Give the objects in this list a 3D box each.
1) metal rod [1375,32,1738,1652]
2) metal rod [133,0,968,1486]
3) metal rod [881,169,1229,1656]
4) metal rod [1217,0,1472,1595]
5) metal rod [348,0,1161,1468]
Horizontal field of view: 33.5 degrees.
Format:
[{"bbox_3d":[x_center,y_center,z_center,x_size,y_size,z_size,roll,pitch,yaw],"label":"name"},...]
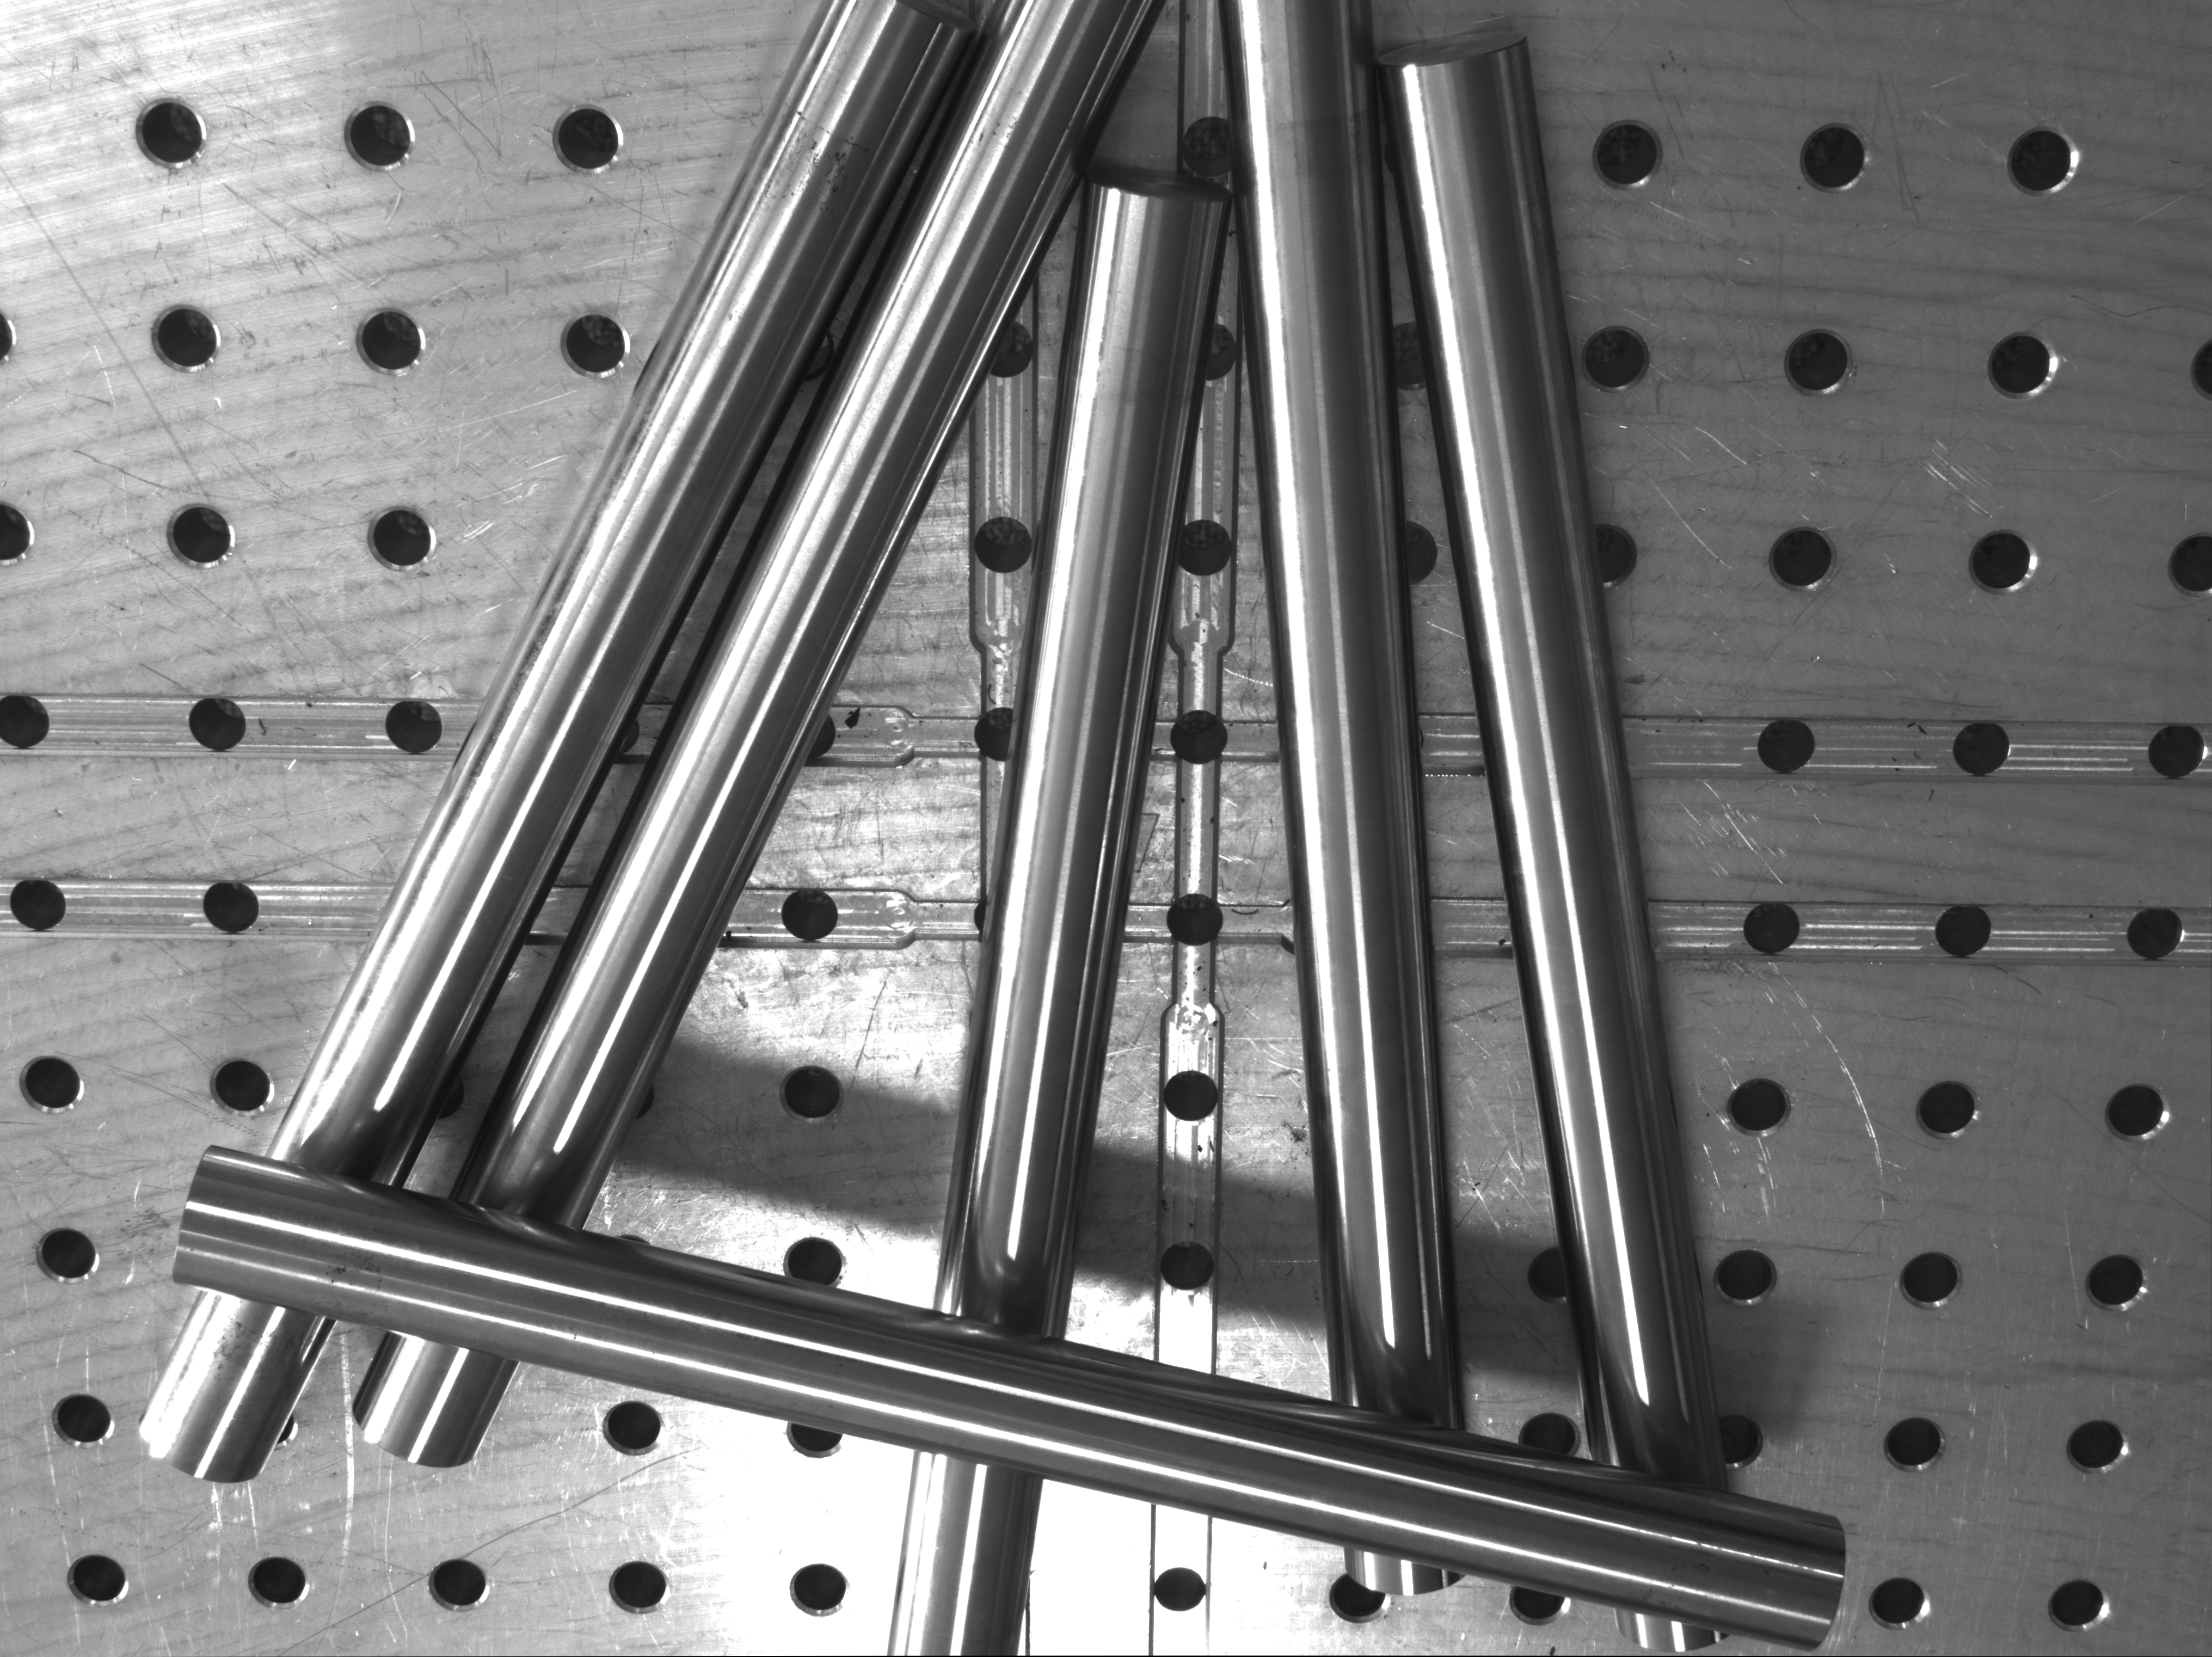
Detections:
[{"bbox_3d":[0.082,0.011,0.651,0.025,0.025,0.300,-9,110,4],"label":"metal rod"},{"bbox_3d":[-0.102,-0.010,0.642,0.025,0.025,0.300,26,108,-9],"label":"metal rod"},{"bbox_3d":[-0.012,0.033,0.659,0.025,0.025,0.300,7,110,-3],"label":"metal rod"},{"bbox_3d":[0.043,-0.002,0.646,0.025,0.025,0.300,-5,110,2],"label":"metal rod"},{"bbox_3d":[-0.066,-0.015,0.641,0.025,0.025,0.300,24,108,-8],"label":"metal rod"}]
